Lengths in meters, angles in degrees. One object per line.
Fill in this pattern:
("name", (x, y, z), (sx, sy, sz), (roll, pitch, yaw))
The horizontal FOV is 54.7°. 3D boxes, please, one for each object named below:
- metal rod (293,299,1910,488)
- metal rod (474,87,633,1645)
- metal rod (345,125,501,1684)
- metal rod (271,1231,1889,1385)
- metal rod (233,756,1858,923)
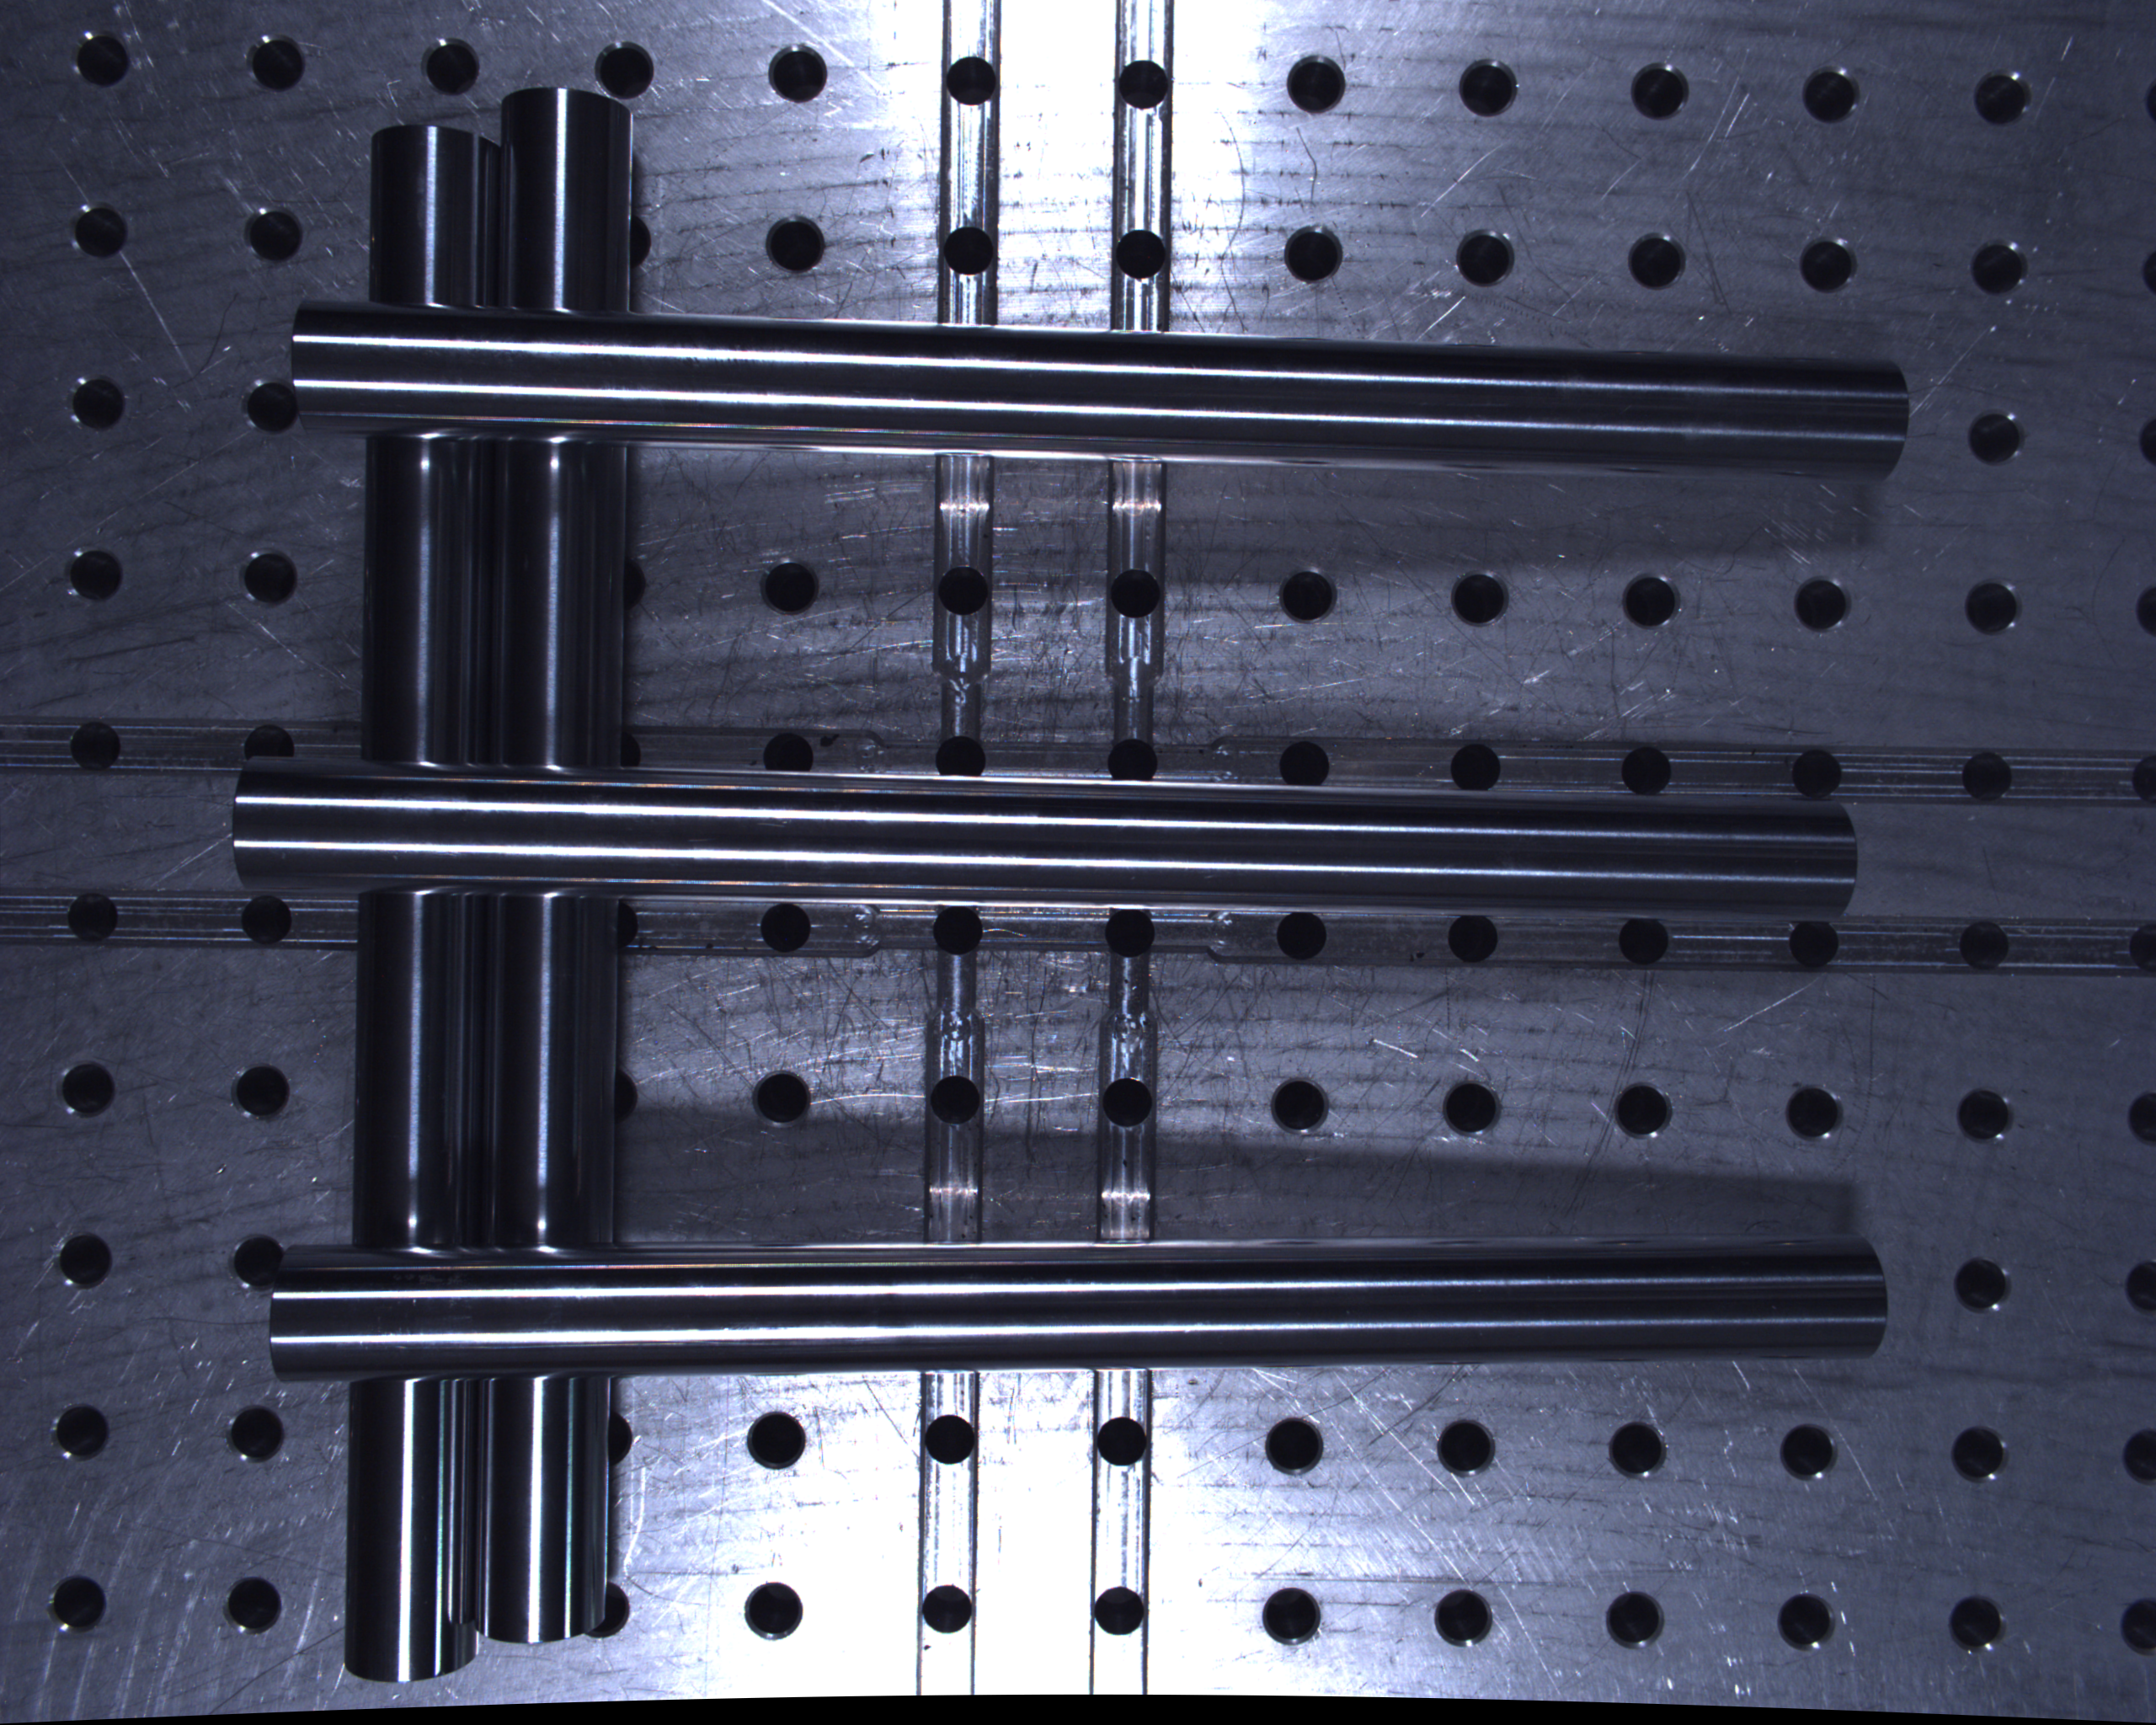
("metal rod", (0.010, -0.089, 0.399), (0.302, 0.025, 0.025), (1, 90, -7))
("metal rod", (-0.103, 0.001, 0.411), (0.025, 0.025, 0.298), (1, 90, -1))
("metal rod", (-0.128, 0.008, 0.411), (0.025, 0.025, 0.298), (1, 90, -1))
("metal rod", (0.006, 0.085, 0.399), (0.302, 0.025, 0.025), (1, 90, -7))
("metal rod", (0.000, -0.004, 0.398), (0.302, 0.025, 0.025), (1, 90, -7))
